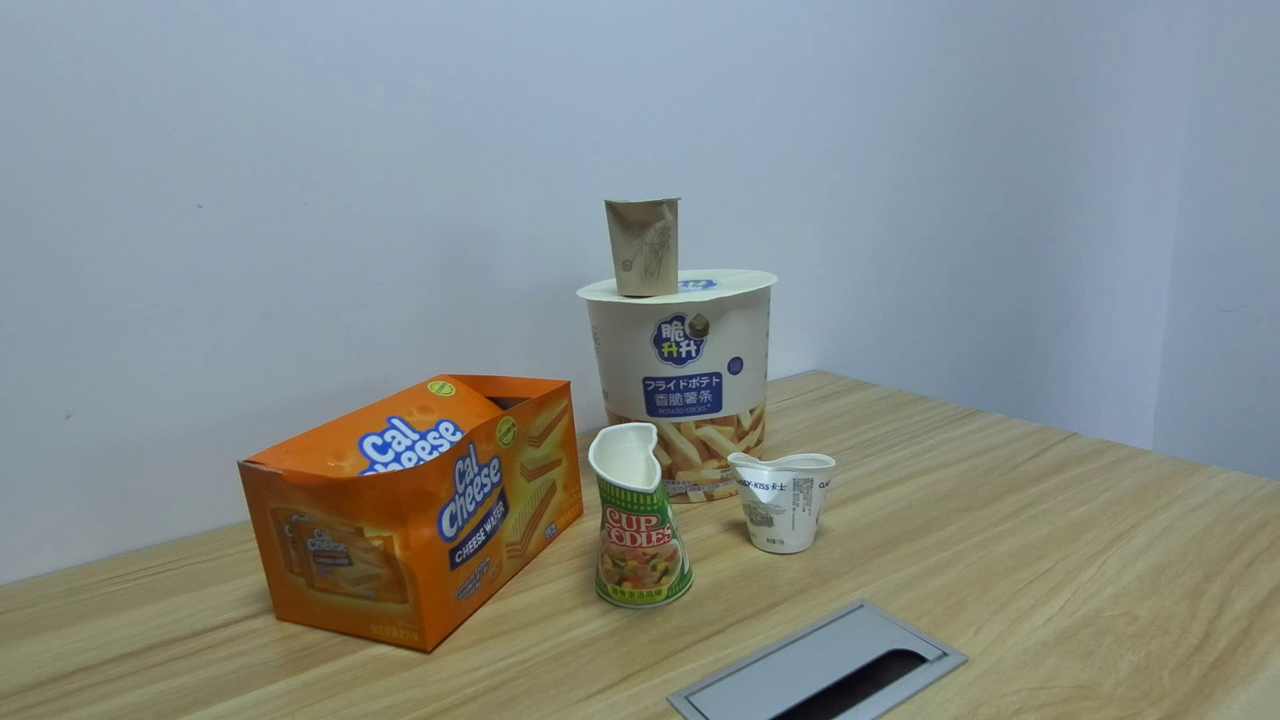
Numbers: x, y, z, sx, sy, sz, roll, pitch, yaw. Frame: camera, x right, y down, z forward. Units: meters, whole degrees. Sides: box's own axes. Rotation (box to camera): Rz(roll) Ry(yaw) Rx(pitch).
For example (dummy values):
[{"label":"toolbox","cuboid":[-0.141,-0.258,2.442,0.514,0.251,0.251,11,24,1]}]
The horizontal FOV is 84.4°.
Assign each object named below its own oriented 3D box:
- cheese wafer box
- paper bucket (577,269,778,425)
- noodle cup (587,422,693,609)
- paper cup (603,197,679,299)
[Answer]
[{"label":"cheese wafer box","cuboid":[-0.162,0.106,0.561,0.152,0.132,0.231,3,15,23]},{"label":"paper bucket","cuboid":[0.042,0.021,0.689,0.198,0.194,0.198,-4,14,1]},{"label":"noodle cup","cuboid":[-0.001,0.111,0.505,0.070,0.111,0.115,0,15,20]},{"label":"paper cup","cuboid":[0.009,-0.100,0.621,0.066,0.084,0.072,3,11,30]}]
